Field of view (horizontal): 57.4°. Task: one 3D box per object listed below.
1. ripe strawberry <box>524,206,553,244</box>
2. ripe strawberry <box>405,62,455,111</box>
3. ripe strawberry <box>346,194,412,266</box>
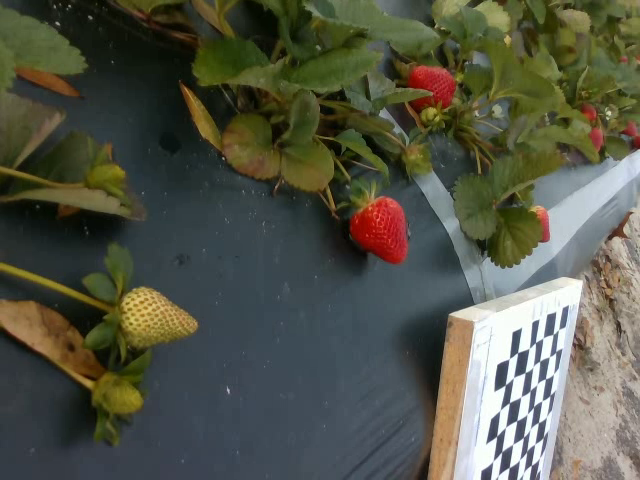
[{"bbox_3d":[0.211,-0.015,0.598,0.039,0.047,0.041,-40,31,-25],"label":"ripe strawberry"},{"bbox_3d":[0.097,-0.142,0.517,0.062,0.043,0.042,24,-3,-43],"label":"ripe strawberry"},{"bbox_3d":[0.038,-0.007,0.344,0.036,0.046,0.040,-19,-21,-35],"label":"ripe strawberry"}]
